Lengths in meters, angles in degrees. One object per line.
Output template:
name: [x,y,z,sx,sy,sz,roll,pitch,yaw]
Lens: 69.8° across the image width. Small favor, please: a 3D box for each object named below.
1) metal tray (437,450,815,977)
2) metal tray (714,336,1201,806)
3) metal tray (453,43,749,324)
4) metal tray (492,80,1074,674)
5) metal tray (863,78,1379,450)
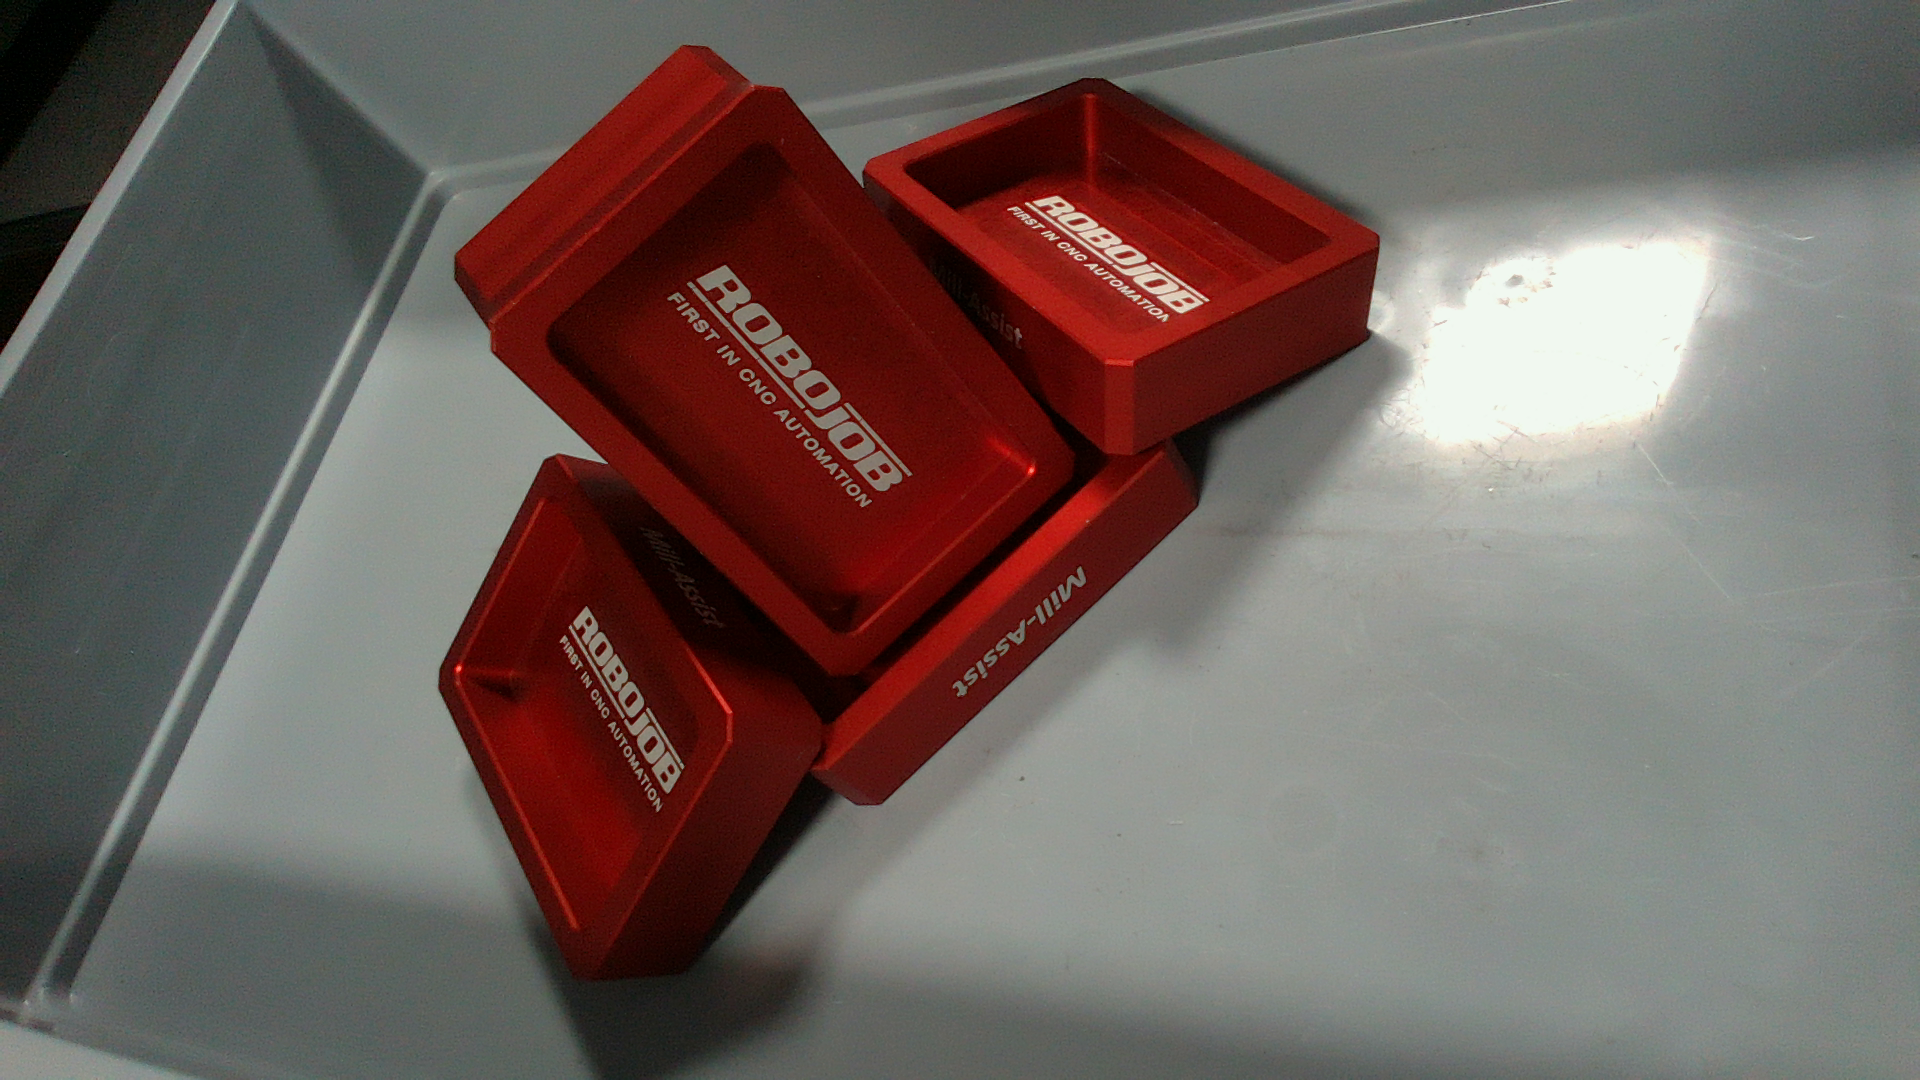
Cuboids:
metal tray: [-0.101,0.046,0.393,0.130,0.030,0.090,47,113,39]
metal tray: [-0.008,0.000,0.393,0.130,0.030,0.090,-43,51,-2]
metal tray: [-0.067,-0.063,0.398,0.090,0.130,0.030,-43,50,-1]
metal tray: [-0.043,-0.039,0.356,0.090,0.130,0.030,-42,27,-1]
metal tray: [0.042,-0.086,0.397,0.090,0.030,0.130,-26,47,-21]
